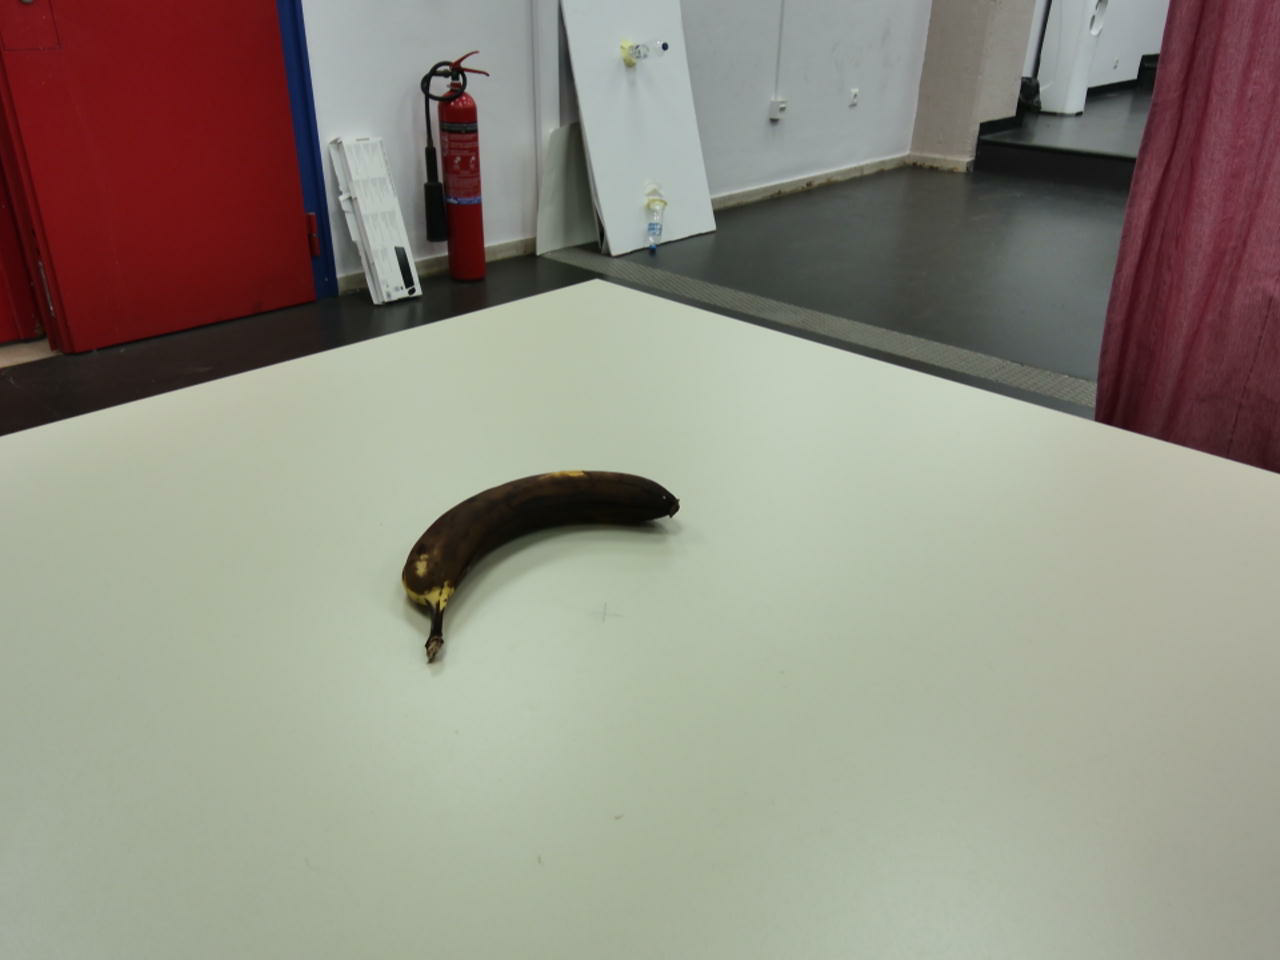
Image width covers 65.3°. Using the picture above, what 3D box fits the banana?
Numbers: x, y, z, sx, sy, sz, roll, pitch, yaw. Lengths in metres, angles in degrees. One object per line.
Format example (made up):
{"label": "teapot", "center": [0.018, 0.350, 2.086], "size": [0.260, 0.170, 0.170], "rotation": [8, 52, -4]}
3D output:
{"label": "banana", "center": [-0.067, 0.030, 0.562], "size": [0.091, 0.034, 0.188], "rotation": [23, 33, 38]}
